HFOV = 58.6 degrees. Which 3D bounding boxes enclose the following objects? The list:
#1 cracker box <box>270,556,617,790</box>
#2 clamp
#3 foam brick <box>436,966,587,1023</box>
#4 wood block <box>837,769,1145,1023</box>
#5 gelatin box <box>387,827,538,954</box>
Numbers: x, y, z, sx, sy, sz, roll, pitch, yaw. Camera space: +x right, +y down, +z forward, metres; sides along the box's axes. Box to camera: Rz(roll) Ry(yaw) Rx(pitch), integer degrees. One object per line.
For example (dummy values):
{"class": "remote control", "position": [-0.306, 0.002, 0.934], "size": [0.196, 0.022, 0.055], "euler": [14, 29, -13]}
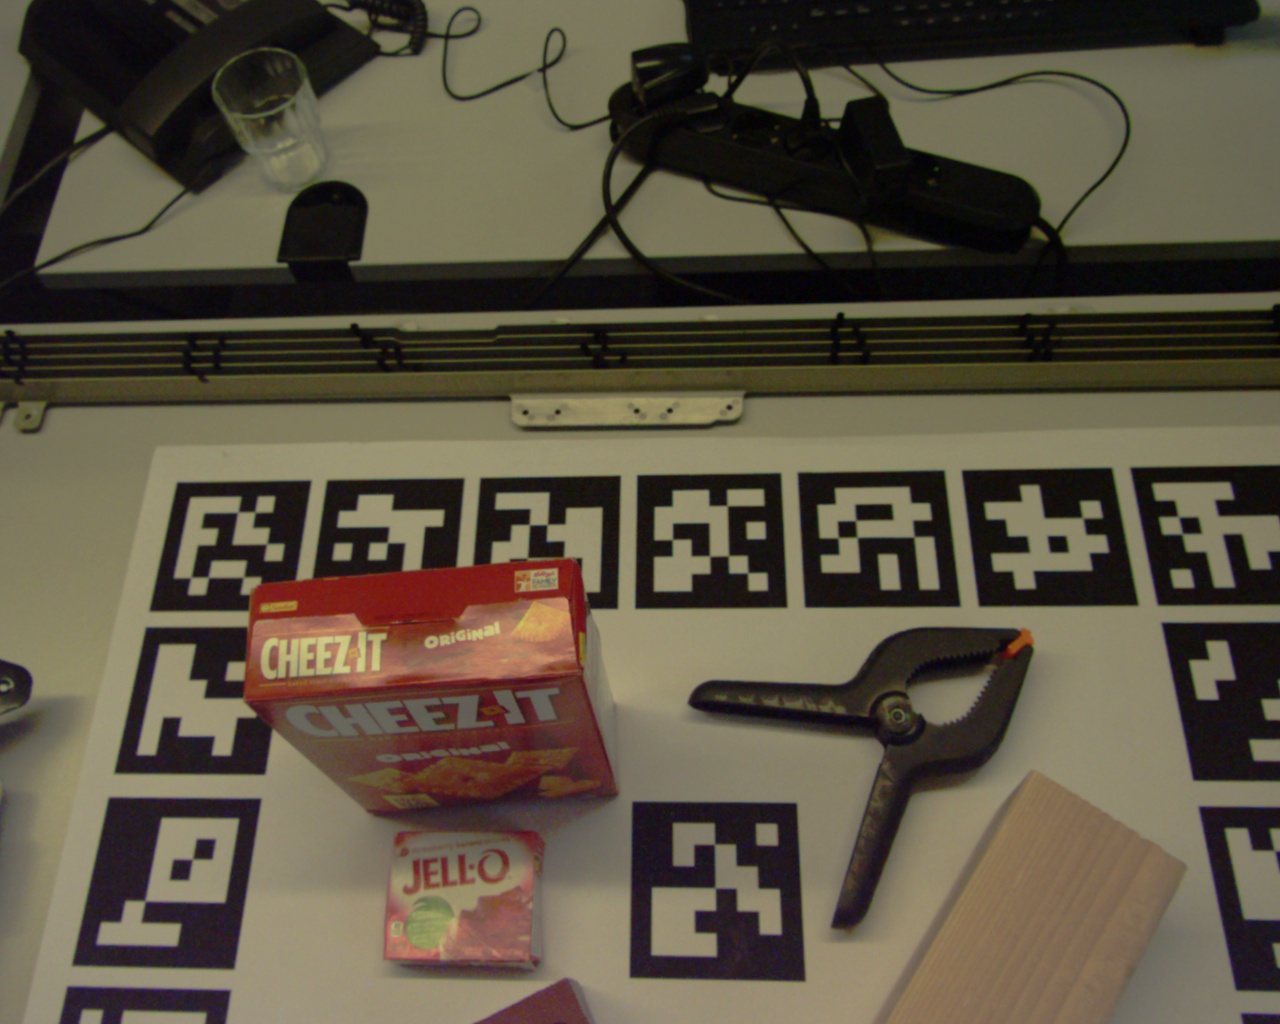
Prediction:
{"class": "cracker box", "position": [-0.100, 0.102, 0.659], "size": [0.164, 0.213, 0.072], "euler": [-3, 64, 1]}
{"class": "clamp", "position": [0.146, 0.134, 0.721], "size": [0.202, 0.036, 0.167], "euler": [-29, 66, -8]}
{"class": "foam brick", "position": [-0.070, 0.303, 0.656], "size": [0.078, 0.051, 0.053], "euler": [-24, 67, -5]}
{"class": "wood block", "position": [0.180, 0.261, 0.634], "size": [0.091, 0.090, 0.205], "euler": [31, 69, 20]}
{"class": "gelatin box", "position": [-0.109, 0.235, 0.707], "size": [0.089, 0.030, 0.073], "euler": [-2, 67, 5]}
